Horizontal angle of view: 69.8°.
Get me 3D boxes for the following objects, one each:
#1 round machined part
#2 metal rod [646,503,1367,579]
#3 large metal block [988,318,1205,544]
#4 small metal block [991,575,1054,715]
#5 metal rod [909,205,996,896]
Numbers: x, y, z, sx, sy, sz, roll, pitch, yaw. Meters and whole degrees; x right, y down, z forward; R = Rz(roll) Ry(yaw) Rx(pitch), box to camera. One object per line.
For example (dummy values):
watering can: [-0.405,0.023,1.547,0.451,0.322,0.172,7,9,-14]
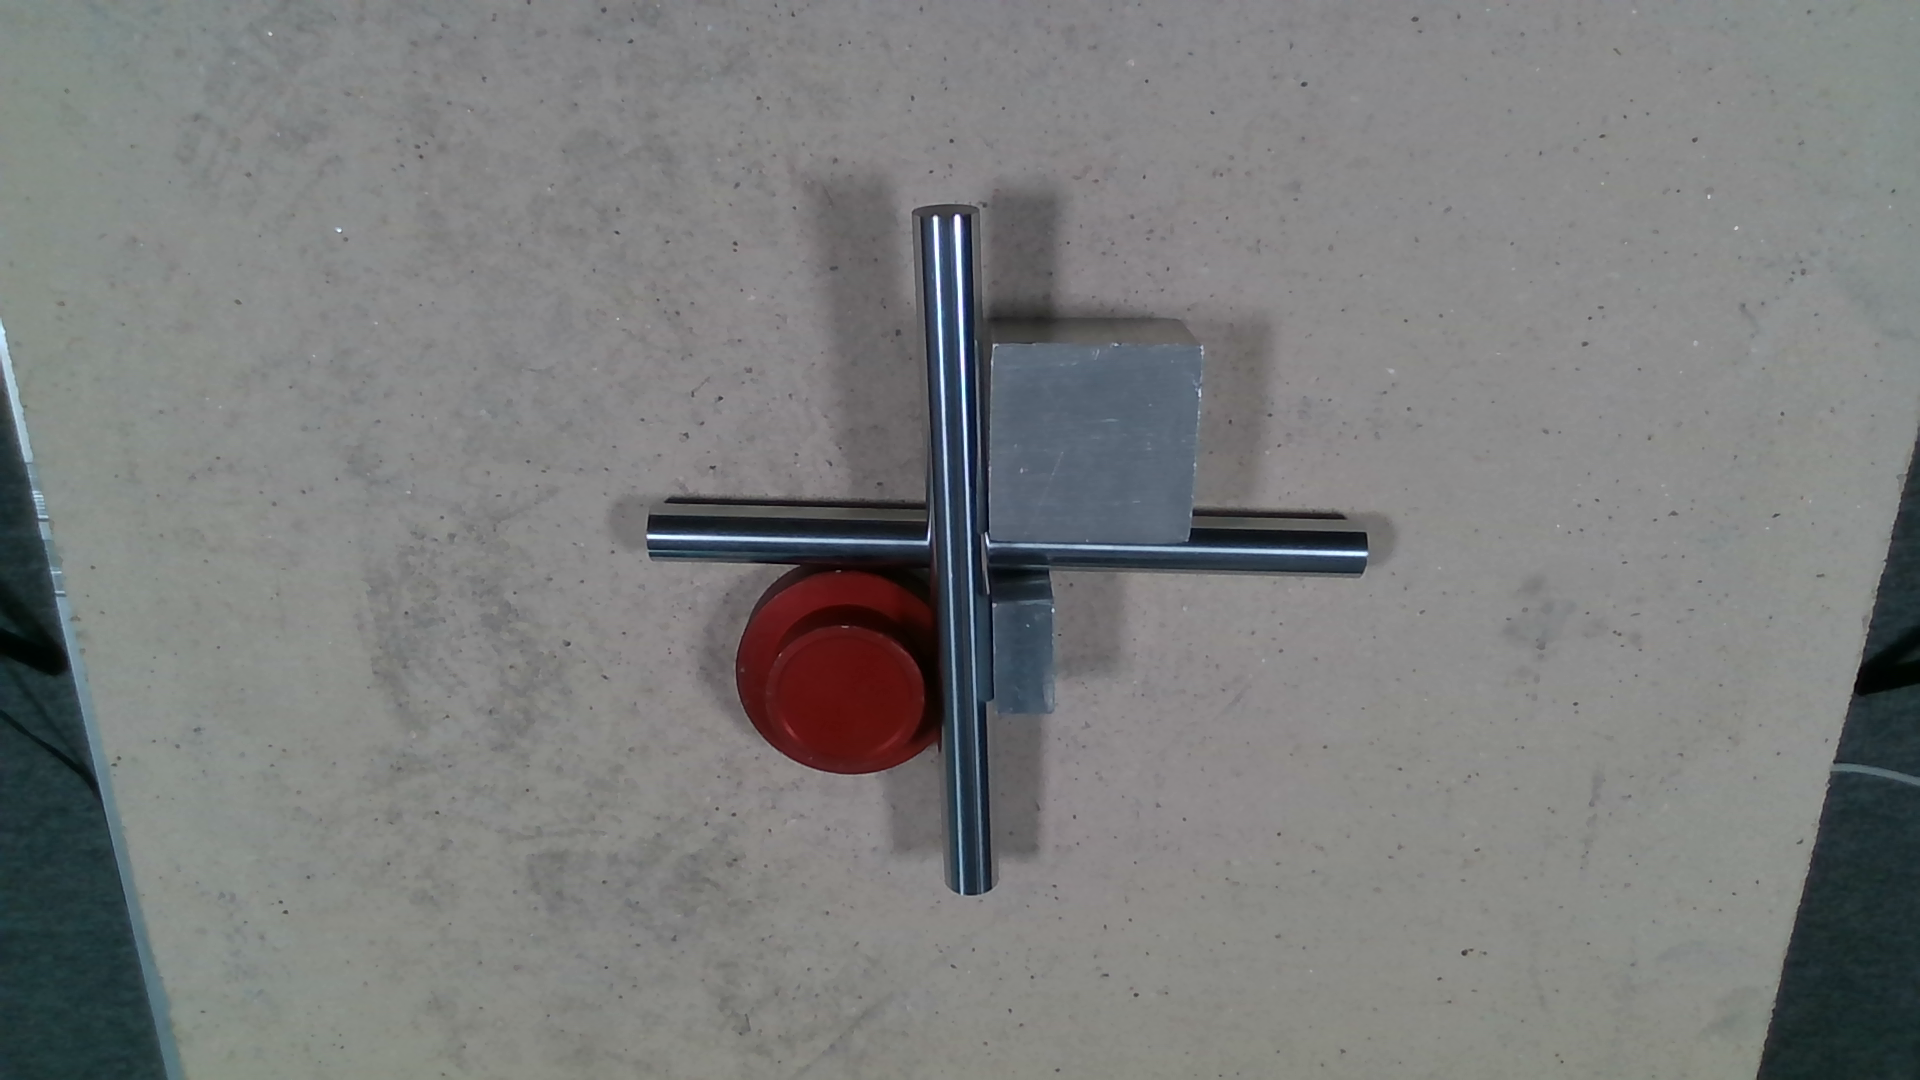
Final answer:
round machined part: [-0.049,0.059,0.597,0.098,0.042,0.098,0,110,0]
metal rod: [0.020,0.000,0.585,0.300,0.025,0.025,1,110,0]
large metal block: [0.051,-0.045,0.554,0.080,0.050,0.080,1,110,0]
small metal block: [0.026,0.040,0.587,0.025,0.050,0.050,-1,110,1]
metal rod: [-0.001,0.017,0.564,0.025,0.025,0.301,-2,114,1]
